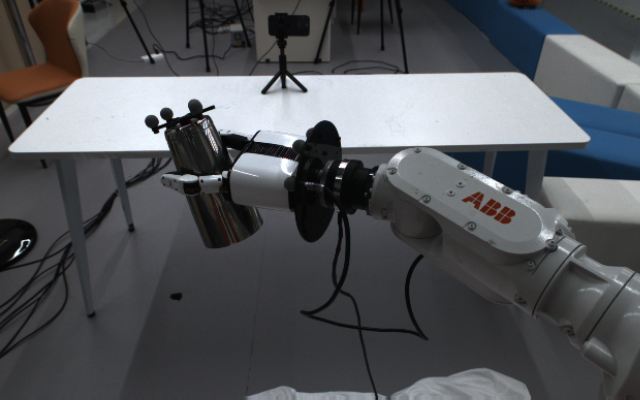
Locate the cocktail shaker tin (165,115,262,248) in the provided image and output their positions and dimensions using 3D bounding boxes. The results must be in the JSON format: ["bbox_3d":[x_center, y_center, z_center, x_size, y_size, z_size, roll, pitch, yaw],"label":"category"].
[{"bbox_3d":[-0.153,-0.027,0.681,0.093,0.170,0.093,-17,20,7],"label":"cocktail shaker tin"}]
